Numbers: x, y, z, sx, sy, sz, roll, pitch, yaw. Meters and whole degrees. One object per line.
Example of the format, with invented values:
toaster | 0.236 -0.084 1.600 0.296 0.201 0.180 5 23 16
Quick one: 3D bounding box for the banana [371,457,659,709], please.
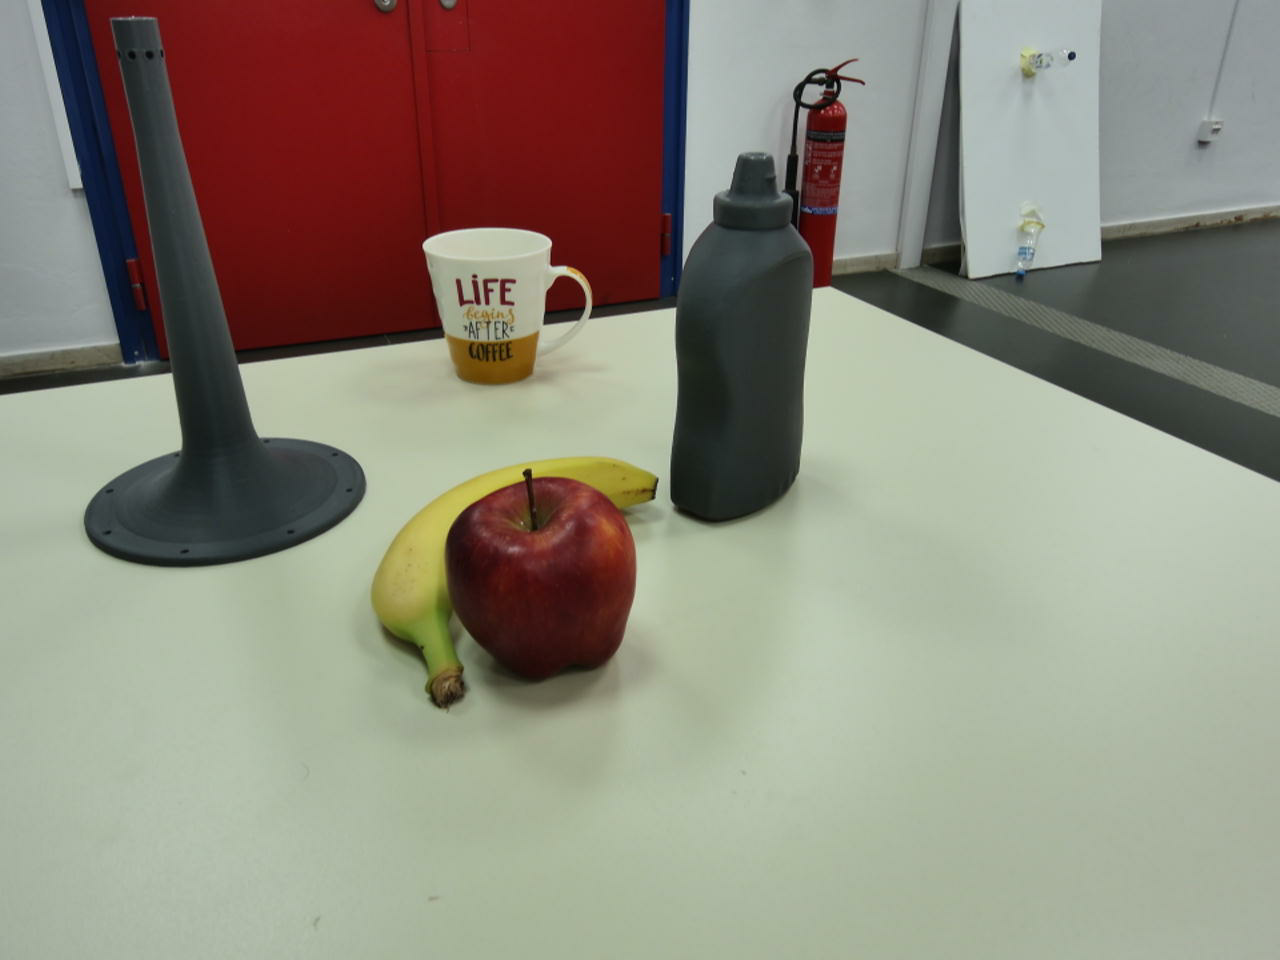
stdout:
banana | -0.073 0.031 0.504 0.094 0.041 0.196 14 28 26
